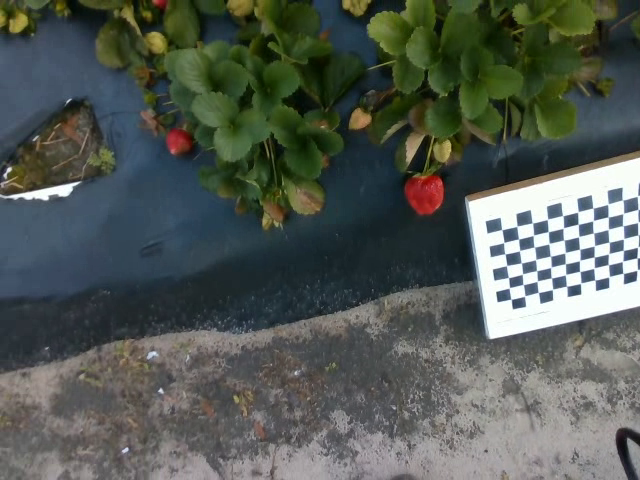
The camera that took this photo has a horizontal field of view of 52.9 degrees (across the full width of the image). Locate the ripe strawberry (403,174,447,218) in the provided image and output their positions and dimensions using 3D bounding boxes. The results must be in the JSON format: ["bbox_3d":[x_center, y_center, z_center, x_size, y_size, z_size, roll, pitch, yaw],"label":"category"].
[{"bbox_3d":[0.166,-0.071,1.012,0.067,0.075,0.039,-9,30,6],"label":"ripe strawberry"}]
